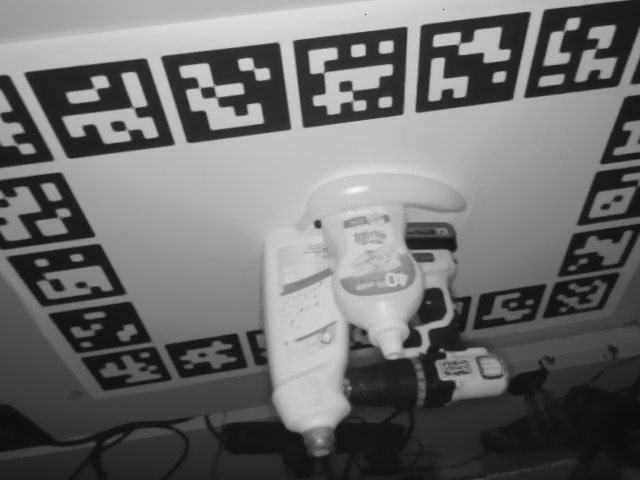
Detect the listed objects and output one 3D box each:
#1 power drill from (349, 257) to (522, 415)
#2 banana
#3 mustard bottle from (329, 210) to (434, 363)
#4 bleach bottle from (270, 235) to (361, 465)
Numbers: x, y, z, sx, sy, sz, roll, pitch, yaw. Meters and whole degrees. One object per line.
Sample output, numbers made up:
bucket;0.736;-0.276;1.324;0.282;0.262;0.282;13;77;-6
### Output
power drill;0.114;0.104;0.763;0.186;0.188;0.056;2;136;-11
banana;0.075;-0.038;0.763;0.198;0.039;0.073;-6;135;-9
mustard bottle;0.067;0.046;0.724;0.096;0.192;0.058;-7;136;-3
bleach bottle;0.004;0.112;0.744;0.103;0.252;0.067;-5;142;-5
